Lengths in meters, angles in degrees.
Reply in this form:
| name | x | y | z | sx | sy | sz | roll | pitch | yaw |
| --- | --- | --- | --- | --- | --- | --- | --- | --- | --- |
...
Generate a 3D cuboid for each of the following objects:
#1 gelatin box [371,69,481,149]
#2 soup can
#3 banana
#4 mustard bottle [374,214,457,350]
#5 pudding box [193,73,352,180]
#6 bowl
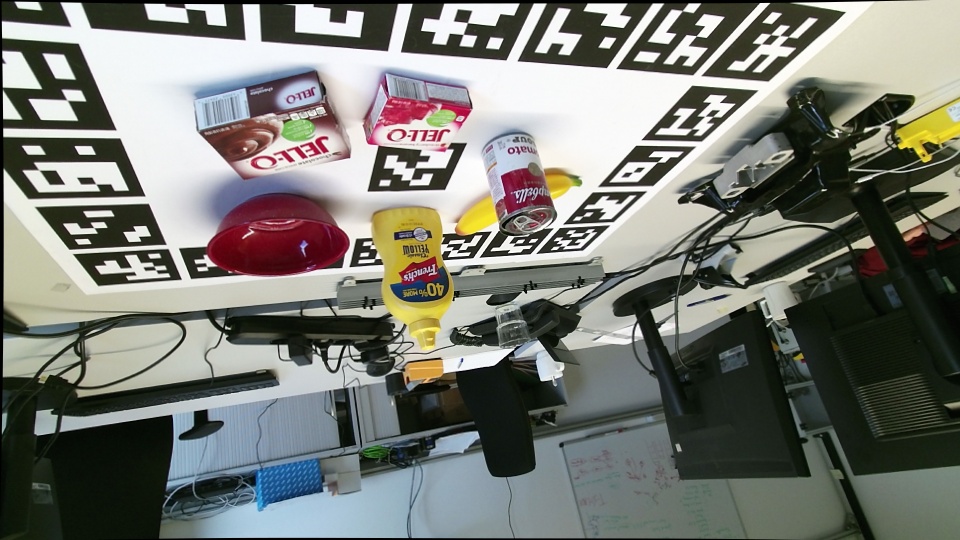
| name | x | y | z | sx | sy | sz | roll | pitch | yaw |
| --- | --- | --- | --- | --- | --- | --- | --- | --- | --- |
| gelatin box | -0.055 | -0.155 | 0.529 | 0.090 | 0.030 | 0.073 | -2 | 153 | -29 |
| soup can | 0.053 | -0.092 | 0.633 | 0.068 | 0.101 | 0.068 | -10 | 160 | -4 |
| banana | 0.048 | -0.086 | 0.759 | 0.198 | 0.038 | 0.074 | -23 | 167 | 23 |
| mustard bottle | -0.082 | 0.022 | 0.709 | 0.096 | 0.190 | 0.058 | -5 | 160 | -22 |
| pudding box | -0.189 | -0.129 | 0.501 | 0.114 | 0.038 | 0.090 | -14 | 154 | 1 |
| bowl | -0.253 | -0.046 | 0.659 | 0.162 | 0.055 | 0.162 | -13 | 160 | -5 |
